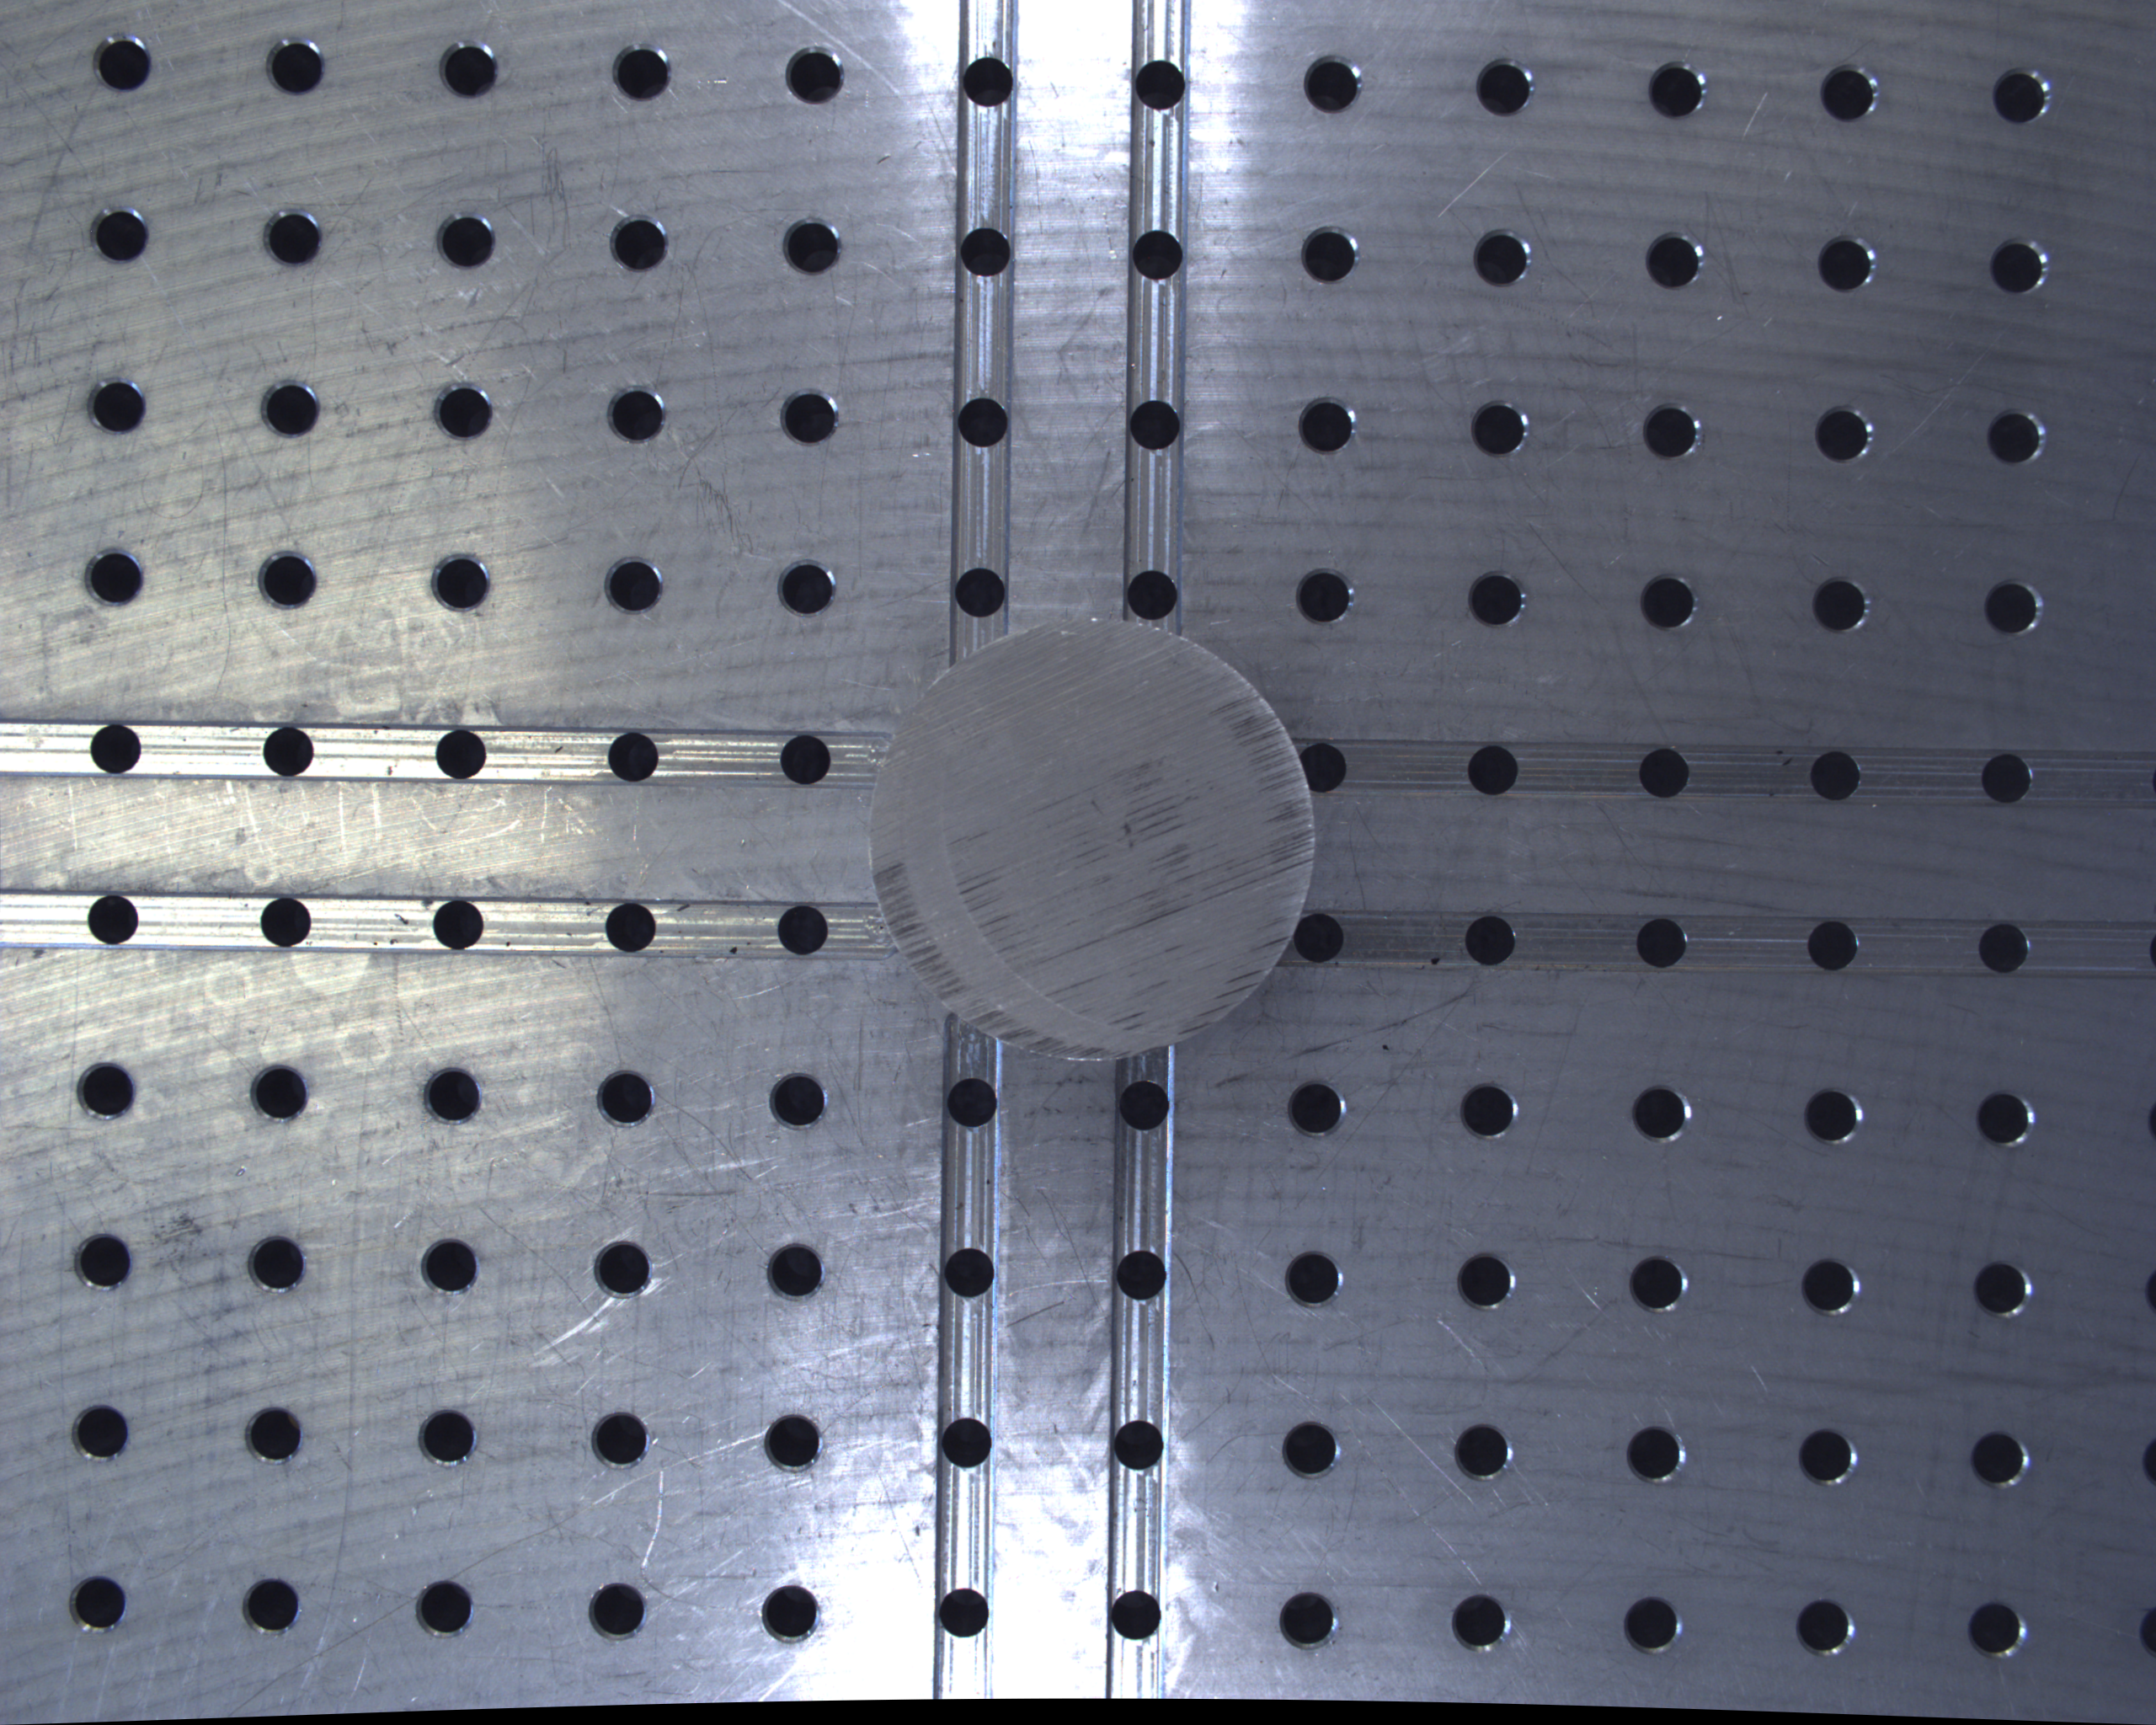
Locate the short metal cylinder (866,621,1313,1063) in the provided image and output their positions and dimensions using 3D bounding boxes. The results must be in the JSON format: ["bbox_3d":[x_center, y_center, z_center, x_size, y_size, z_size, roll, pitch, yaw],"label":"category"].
[{"bbox_3d":[0.002,-0.004,0.401,0.080,0.050,0.080,0,90,0],"label":"short metal cylinder"}]
